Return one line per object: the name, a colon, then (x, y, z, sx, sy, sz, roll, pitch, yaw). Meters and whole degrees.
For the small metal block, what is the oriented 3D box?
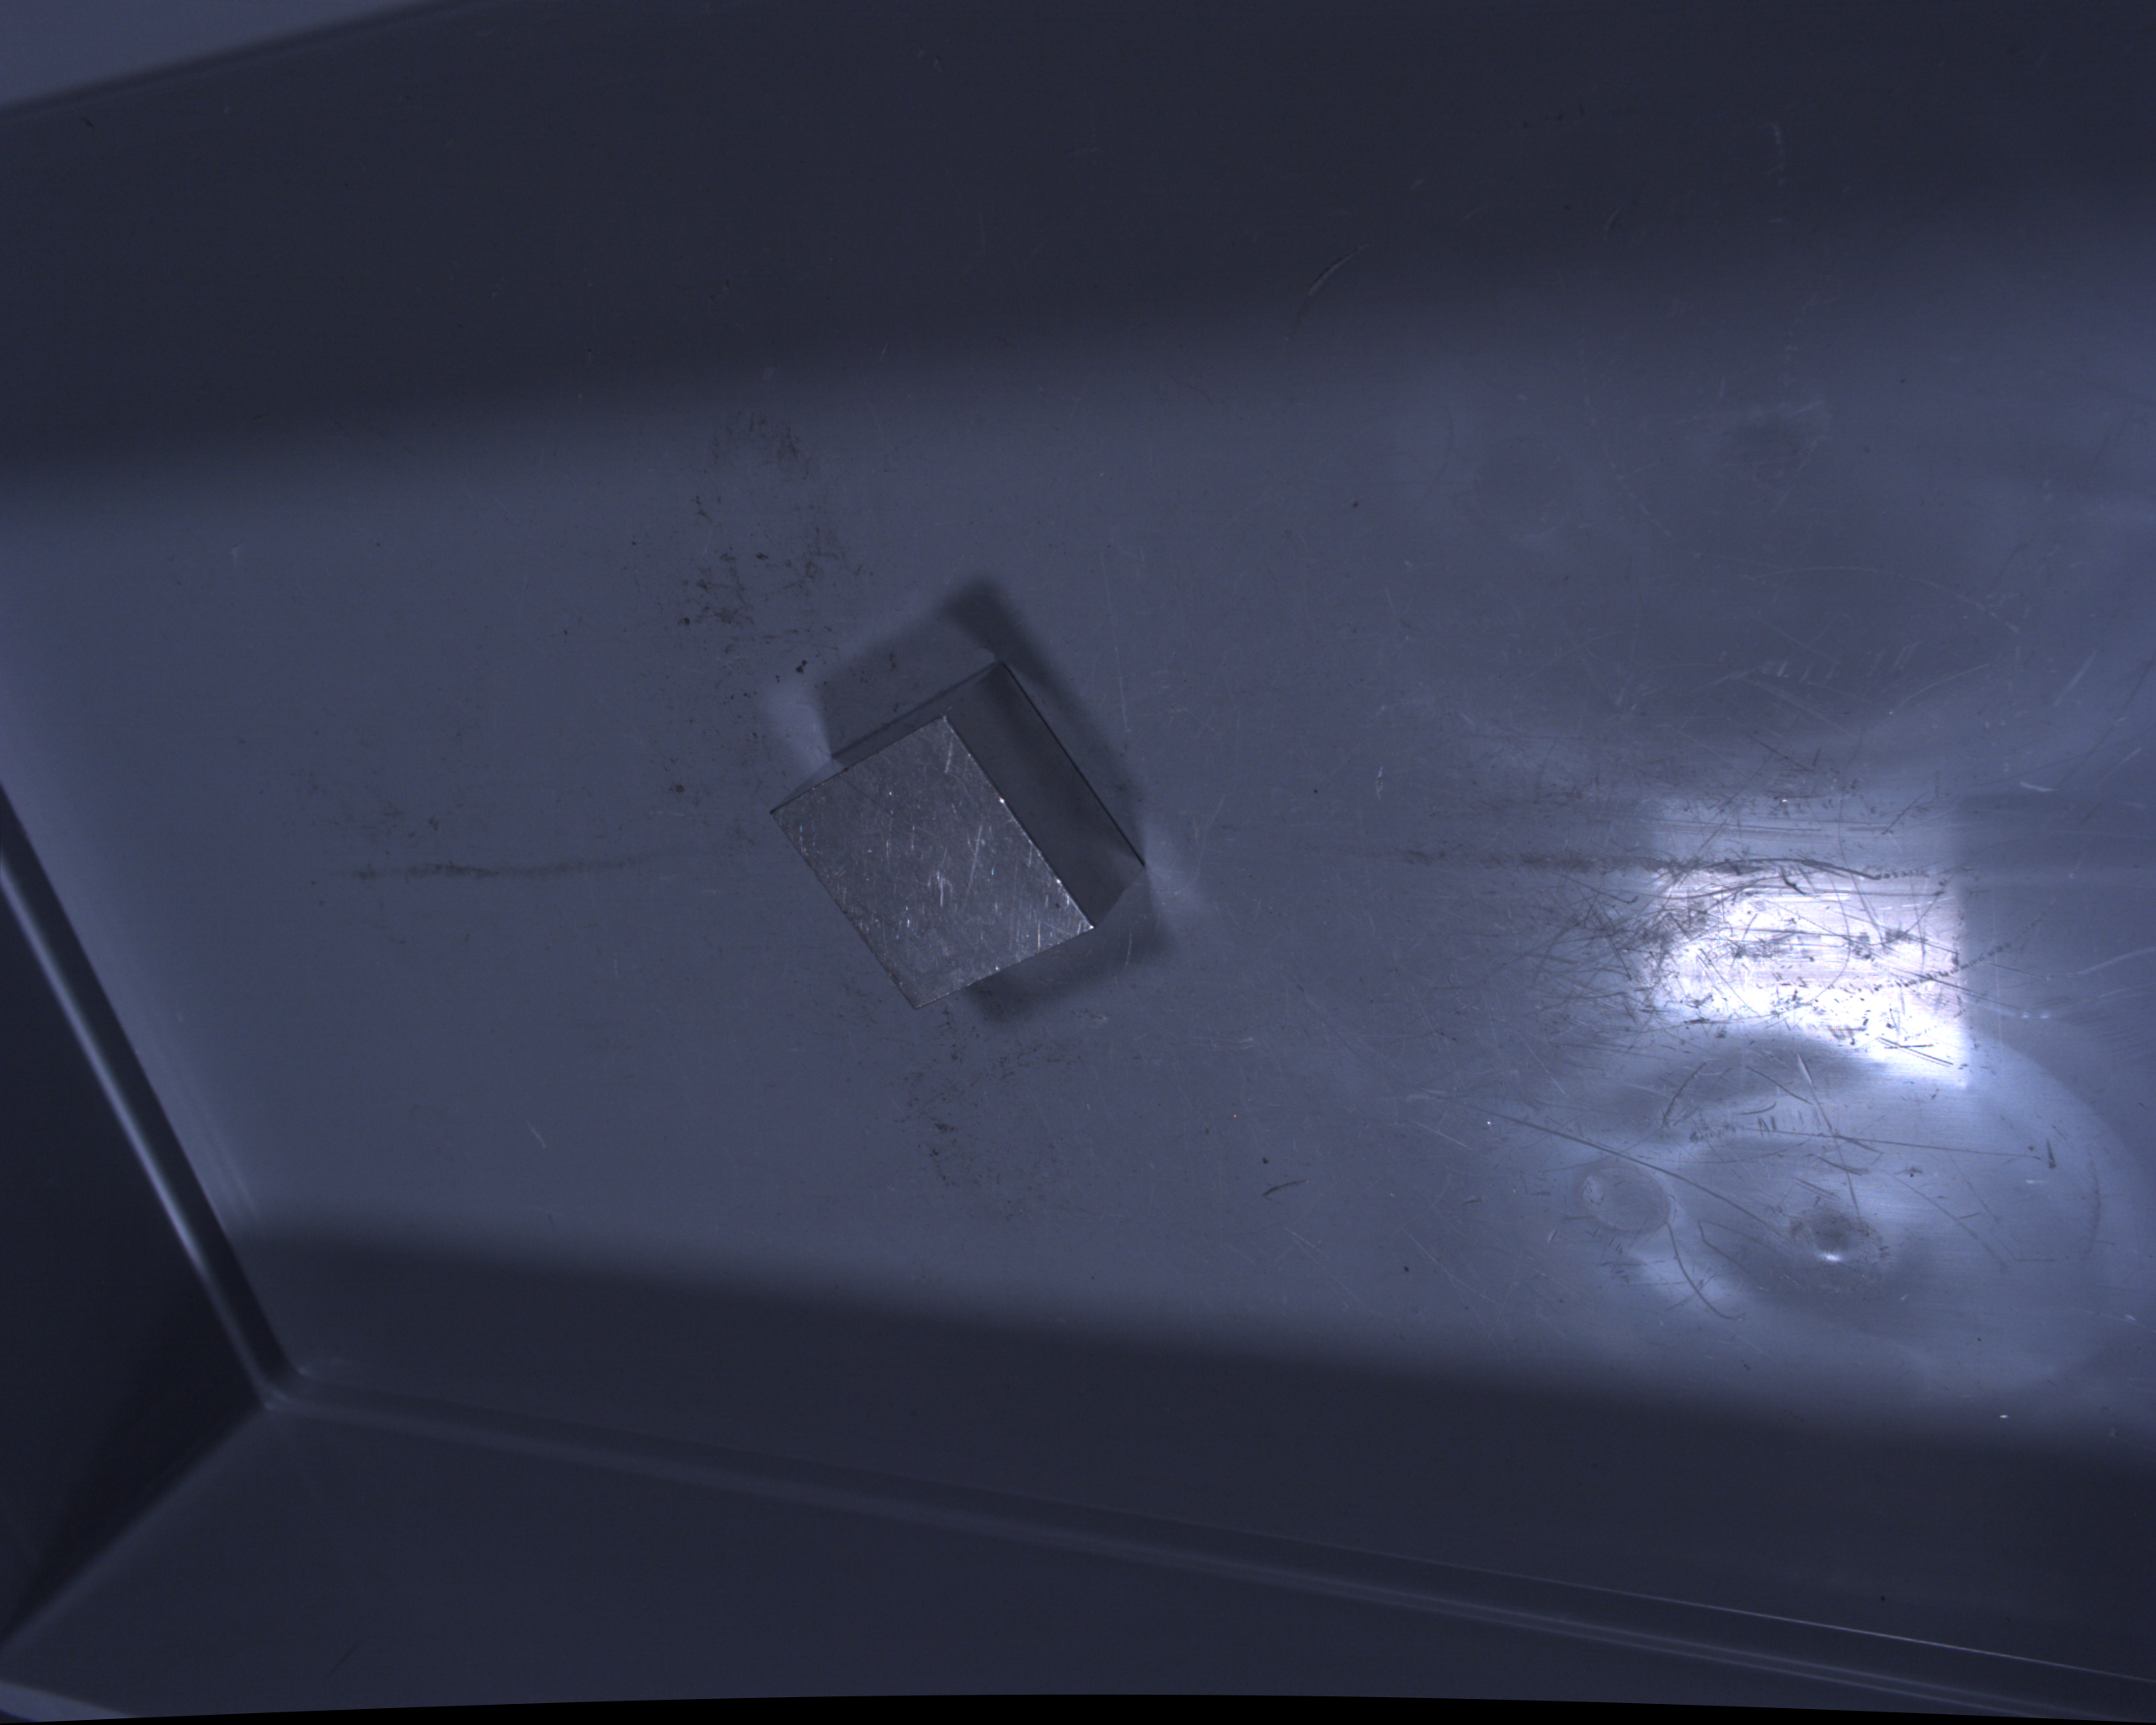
small metal block: (-0.024, -0.005, 0.413, 0.050, 0.025, 0.050, -26, 105, 36)
